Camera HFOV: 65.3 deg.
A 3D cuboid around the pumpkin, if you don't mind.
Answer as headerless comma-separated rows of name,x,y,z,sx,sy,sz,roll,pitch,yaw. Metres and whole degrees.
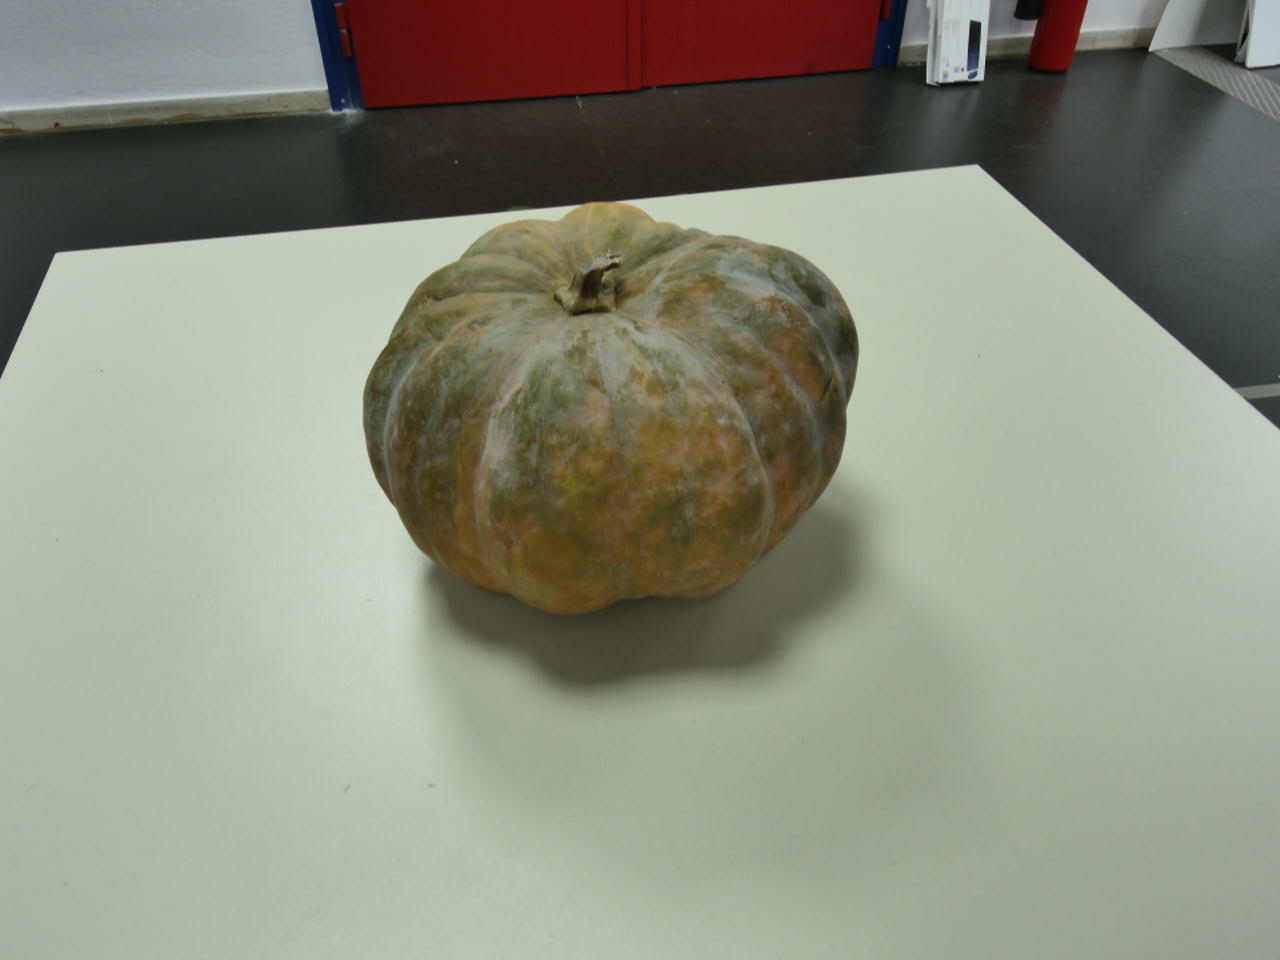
pumpkin,-0.020,-0.042,0.522,0.252,0.169,0.251,0,39,0
